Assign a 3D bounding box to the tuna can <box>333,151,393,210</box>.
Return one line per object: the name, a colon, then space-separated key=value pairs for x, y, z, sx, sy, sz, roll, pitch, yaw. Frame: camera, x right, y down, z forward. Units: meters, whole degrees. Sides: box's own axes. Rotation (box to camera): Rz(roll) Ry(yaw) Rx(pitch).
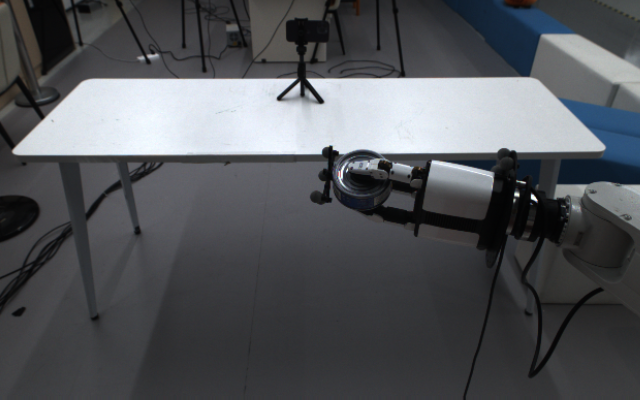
tuna can: x=0.063 y=-0.027 z=0.686 sx=0.085 sy=0.034 sz=0.085 roll=-2 pitch=57 yaw=3
